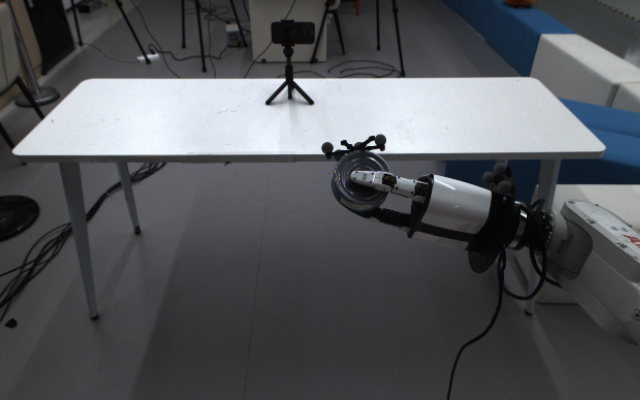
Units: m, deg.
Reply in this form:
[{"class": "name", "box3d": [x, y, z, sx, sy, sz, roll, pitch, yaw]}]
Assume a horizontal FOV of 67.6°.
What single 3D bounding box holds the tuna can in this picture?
[{"class": "tuna can", "box3d": [0.064, -0.023, 0.695, 0.085, 0.034, 0.085, 0, 72, -1]}]
